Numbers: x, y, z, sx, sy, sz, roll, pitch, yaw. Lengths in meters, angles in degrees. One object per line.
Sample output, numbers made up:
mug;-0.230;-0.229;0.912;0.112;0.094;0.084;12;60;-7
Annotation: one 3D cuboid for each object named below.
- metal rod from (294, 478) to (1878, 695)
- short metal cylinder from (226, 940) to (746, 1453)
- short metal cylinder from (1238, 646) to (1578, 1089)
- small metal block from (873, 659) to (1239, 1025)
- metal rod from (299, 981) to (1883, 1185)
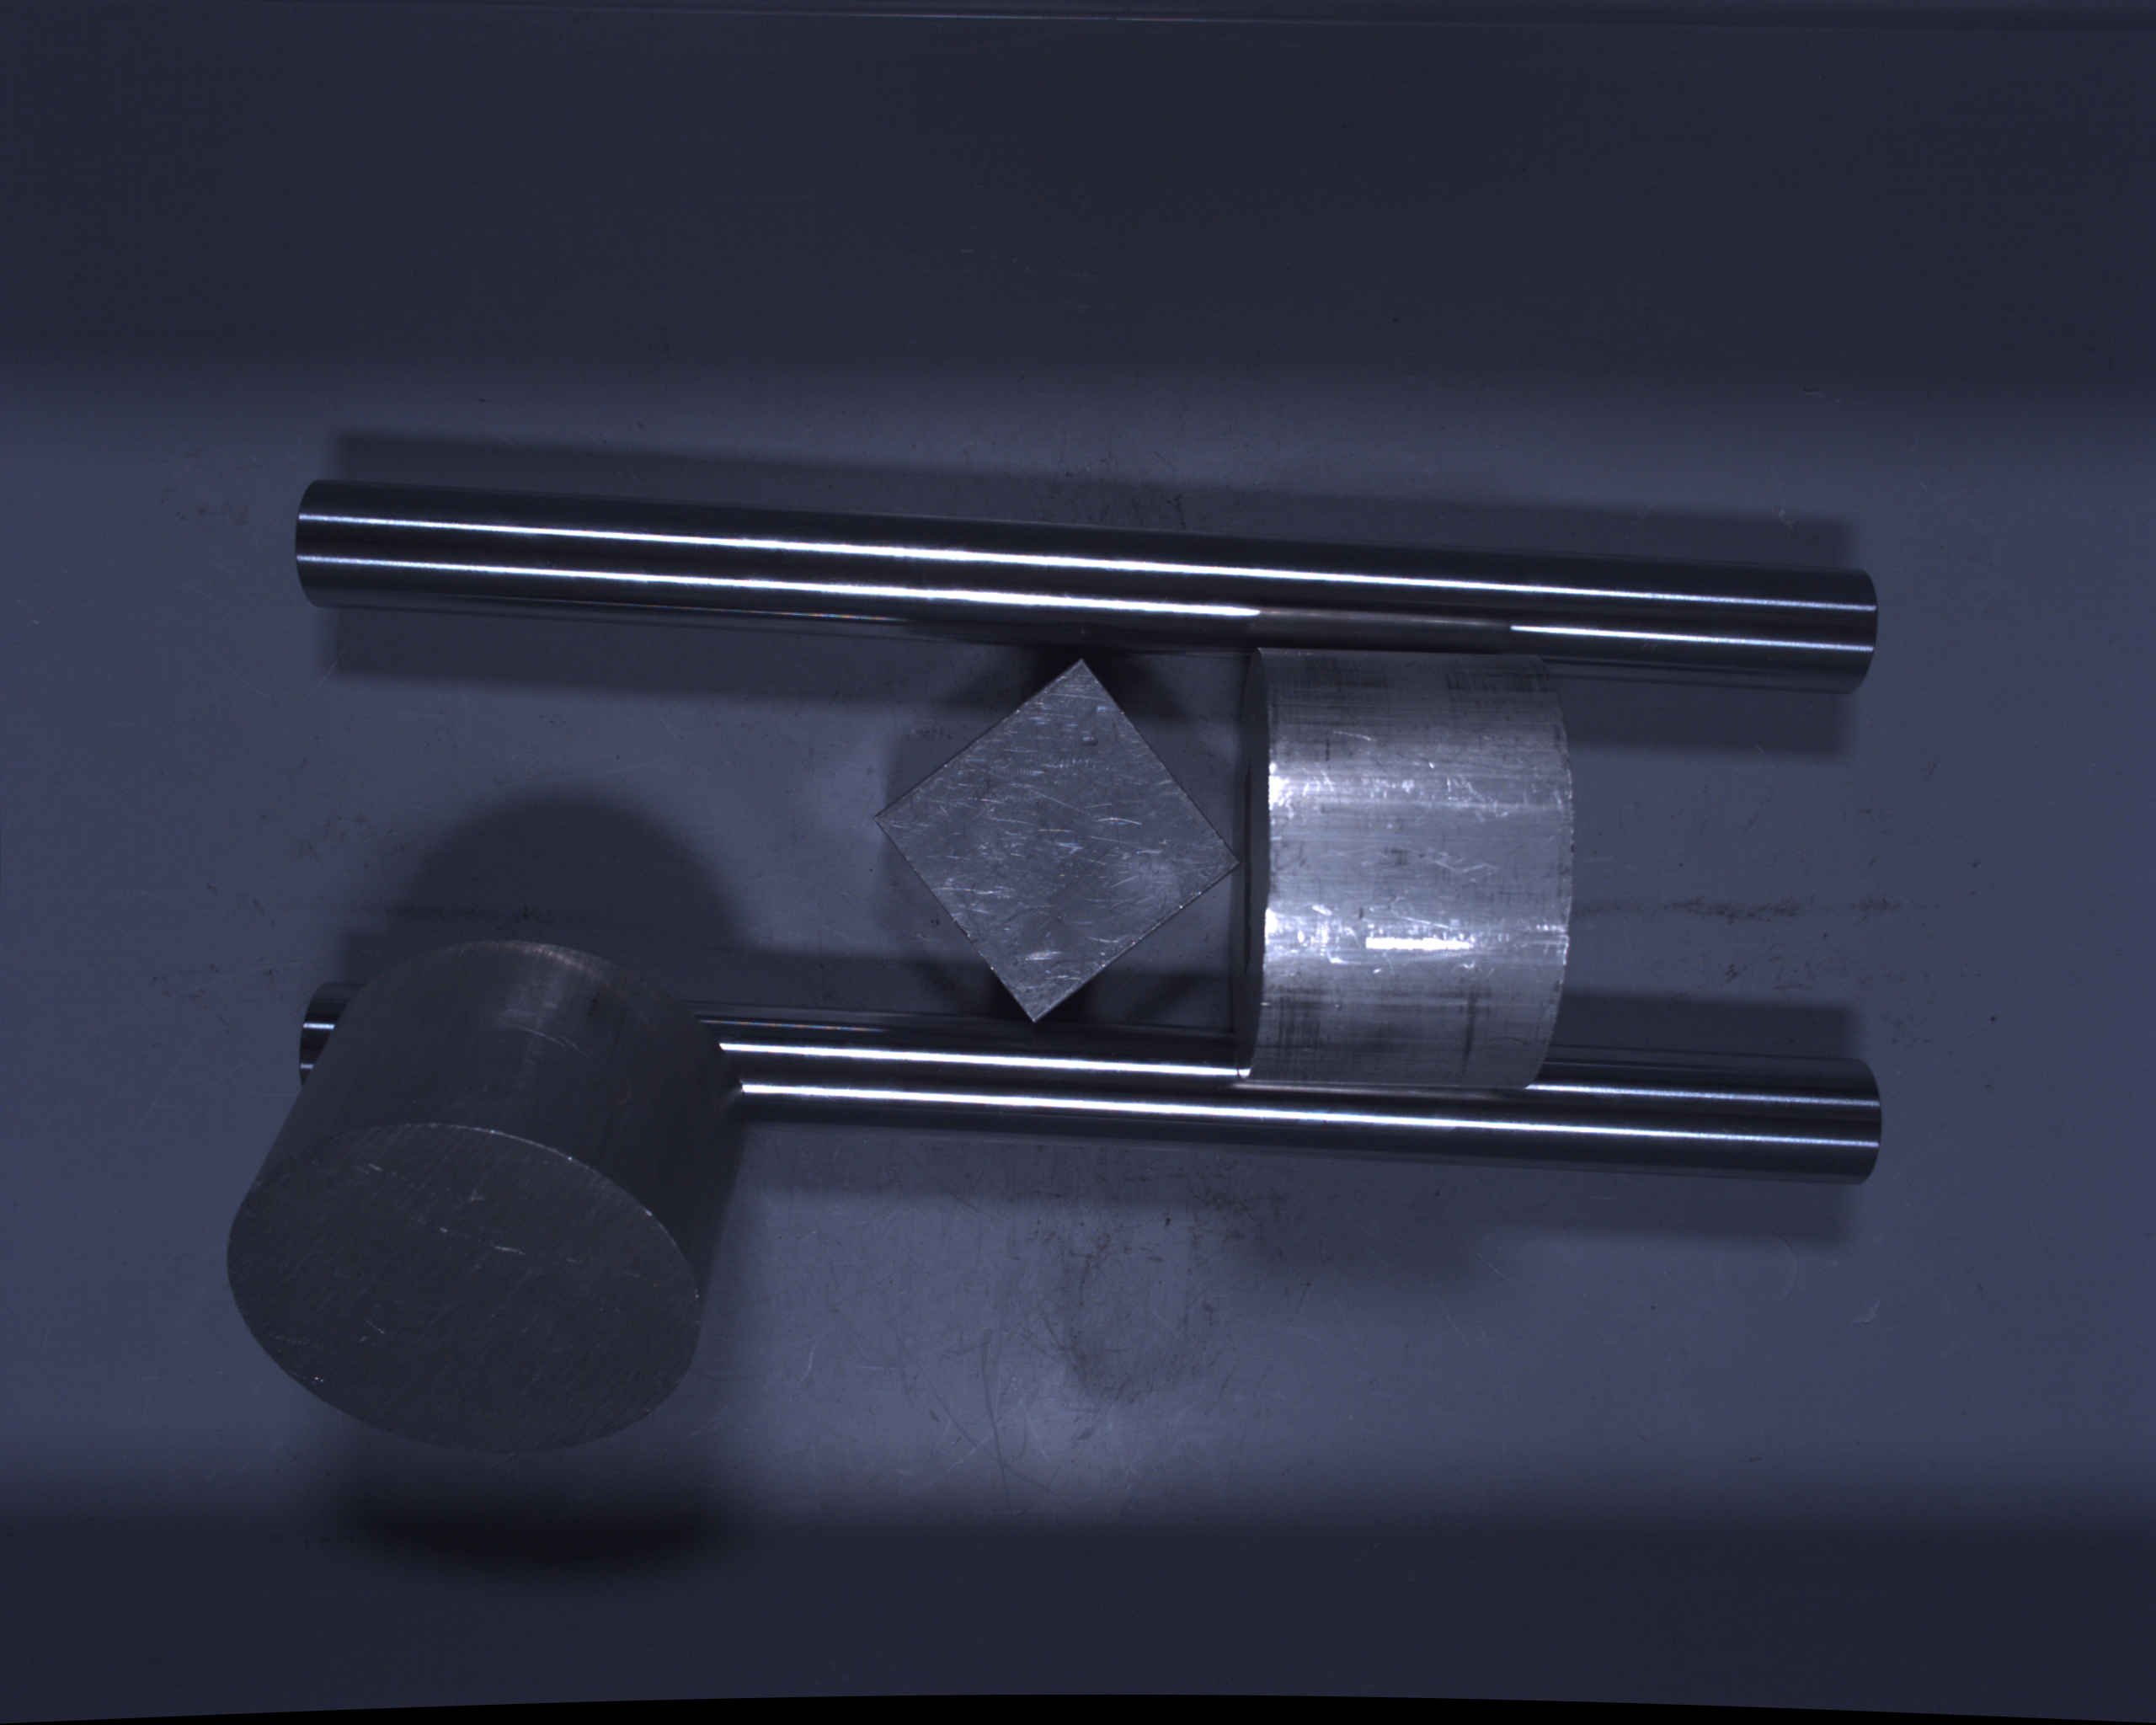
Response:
metal rod;0.002;-0.054;0.409;0.302;0.025;0.025;3;90;-1
short metal cylinder;-0.105;0.061;0.379;0.081;0.050;0.079;1;124;1
short metal cylinder;0.057;0.001;0.383;0.050;0.080;0.079;2;90;0
small metal block;-0.004;-0.004;0.410;0.050;0.025;0.050;-38;91;0
metal rod;0.003;0.043;0.409;0.302;0.025;0.025;3;90;-1
